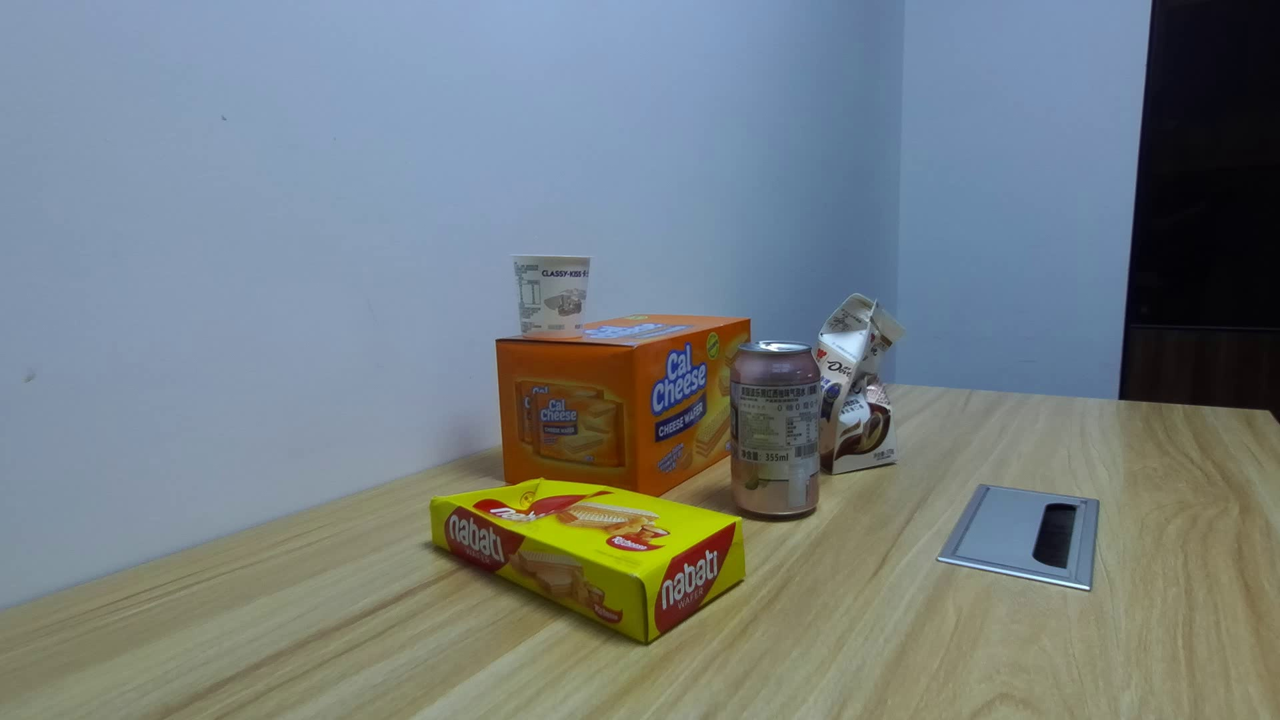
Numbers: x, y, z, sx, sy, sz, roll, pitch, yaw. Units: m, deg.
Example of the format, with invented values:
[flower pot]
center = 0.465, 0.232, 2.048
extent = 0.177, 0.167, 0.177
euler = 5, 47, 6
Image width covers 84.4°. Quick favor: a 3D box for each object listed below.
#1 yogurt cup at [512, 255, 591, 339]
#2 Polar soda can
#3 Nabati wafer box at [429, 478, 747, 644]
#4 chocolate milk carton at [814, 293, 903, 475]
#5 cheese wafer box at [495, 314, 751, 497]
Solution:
[yogurt cup]
center = -0.075, -0.054, 0.606
extent = 0.072, 0.068, 0.072
euler = 0, 6, 0
[Polar soda can]
center = 0.101, 0.051, 0.527
extent = 0.067, 0.125, 0.067
euler = -2, 7, 1
[Nabati wafer box]
center = -0.041, 0.110, 0.448
extent = 0.202, 0.042, 0.097
euler = 5, 13, 43
[chocolate milk carton]
center = 0.194, 0.021, 0.637
extent = 0.090, 0.155, 0.076
euler = 10, 7, -27
[cheese wafer box]
center = -0.004, 0.033, 0.658
extent = 0.147, 0.129, 0.223
euler = 4, 11, 32
